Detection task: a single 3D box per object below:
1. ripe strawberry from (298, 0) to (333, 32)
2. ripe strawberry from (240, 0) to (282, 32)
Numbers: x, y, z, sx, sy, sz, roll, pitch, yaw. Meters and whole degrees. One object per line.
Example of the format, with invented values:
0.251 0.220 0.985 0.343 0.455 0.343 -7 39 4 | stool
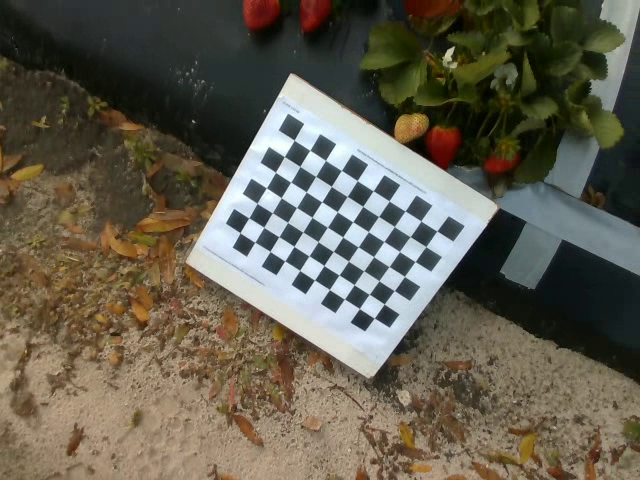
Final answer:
-0.014 -0.279 0.651 0.042 0.053 0.034 18 -17 9 | ripe strawberry
-0.080 -0.280 0.654 0.050 0.061 0.045 23 -20 7 | ripe strawberry
